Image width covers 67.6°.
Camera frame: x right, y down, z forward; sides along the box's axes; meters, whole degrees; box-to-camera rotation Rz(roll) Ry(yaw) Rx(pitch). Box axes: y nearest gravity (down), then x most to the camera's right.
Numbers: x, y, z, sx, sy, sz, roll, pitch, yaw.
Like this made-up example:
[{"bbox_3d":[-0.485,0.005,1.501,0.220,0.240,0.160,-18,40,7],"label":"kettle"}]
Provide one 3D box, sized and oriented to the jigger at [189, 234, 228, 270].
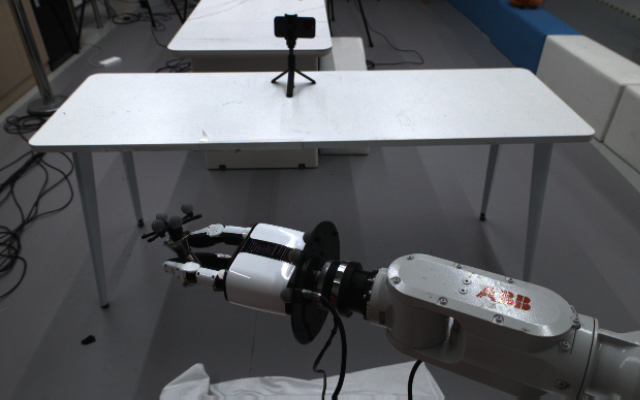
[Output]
[{"bbox_3d":[-0.184,0.081,0.685,0.043,0.071,0.043,-21,16,6],"label":"jigger"}]
